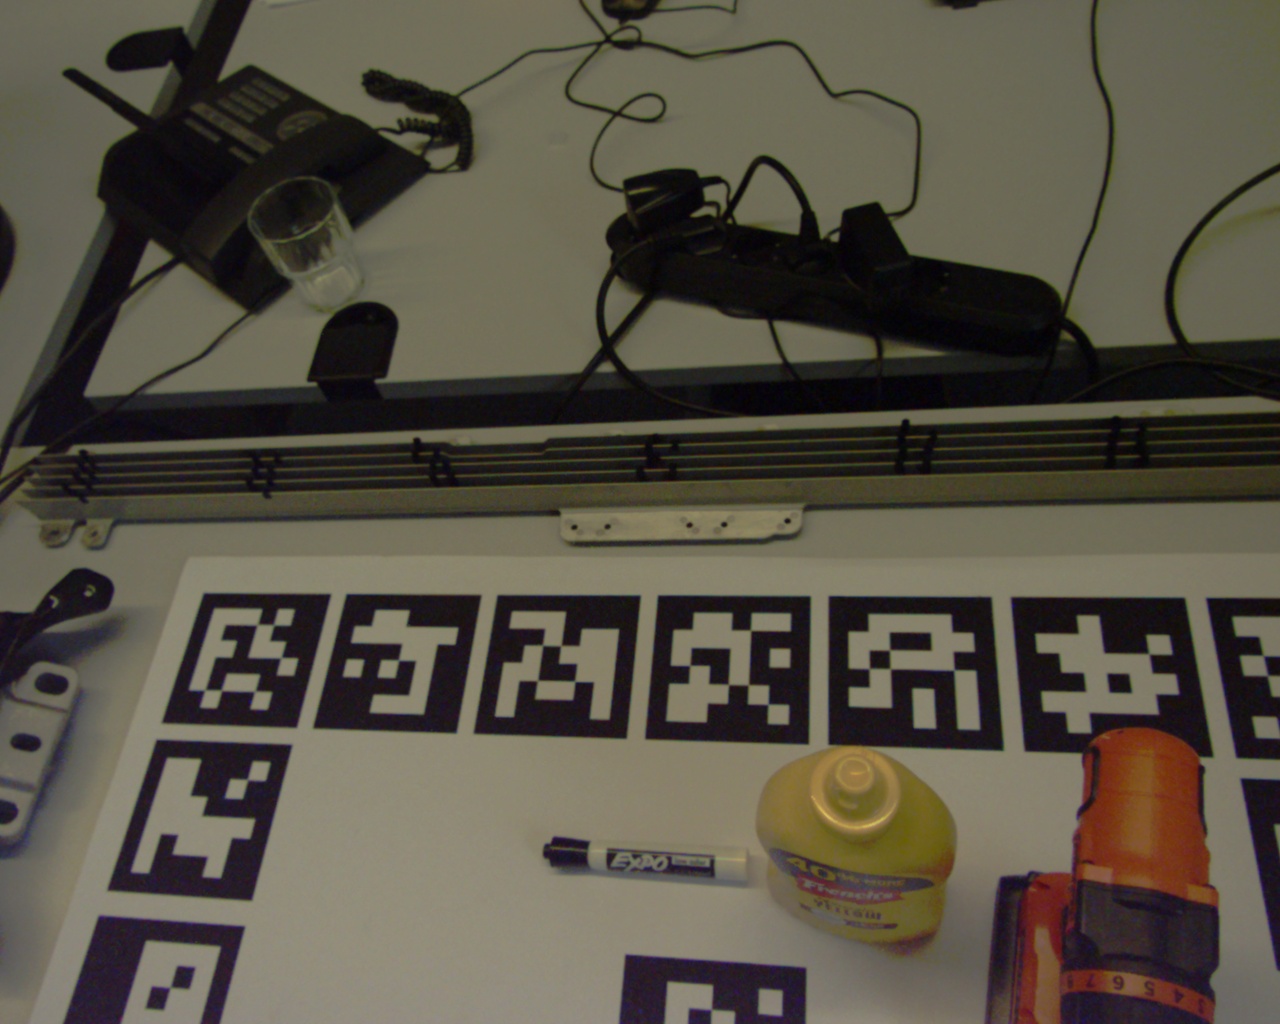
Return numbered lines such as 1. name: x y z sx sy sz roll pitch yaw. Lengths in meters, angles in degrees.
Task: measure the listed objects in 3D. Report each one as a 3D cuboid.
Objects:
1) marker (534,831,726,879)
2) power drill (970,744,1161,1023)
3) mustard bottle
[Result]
1. marker: -0.008 0.214 0.714 0.122 0.019 0.020 1 60 13
2. power drill: 0.197 0.223 0.542 0.058 0.186 0.184 12 60 16
3. mustard bottle: 0.102 0.177 0.611 0.097 0.190 0.058 10 61 16
